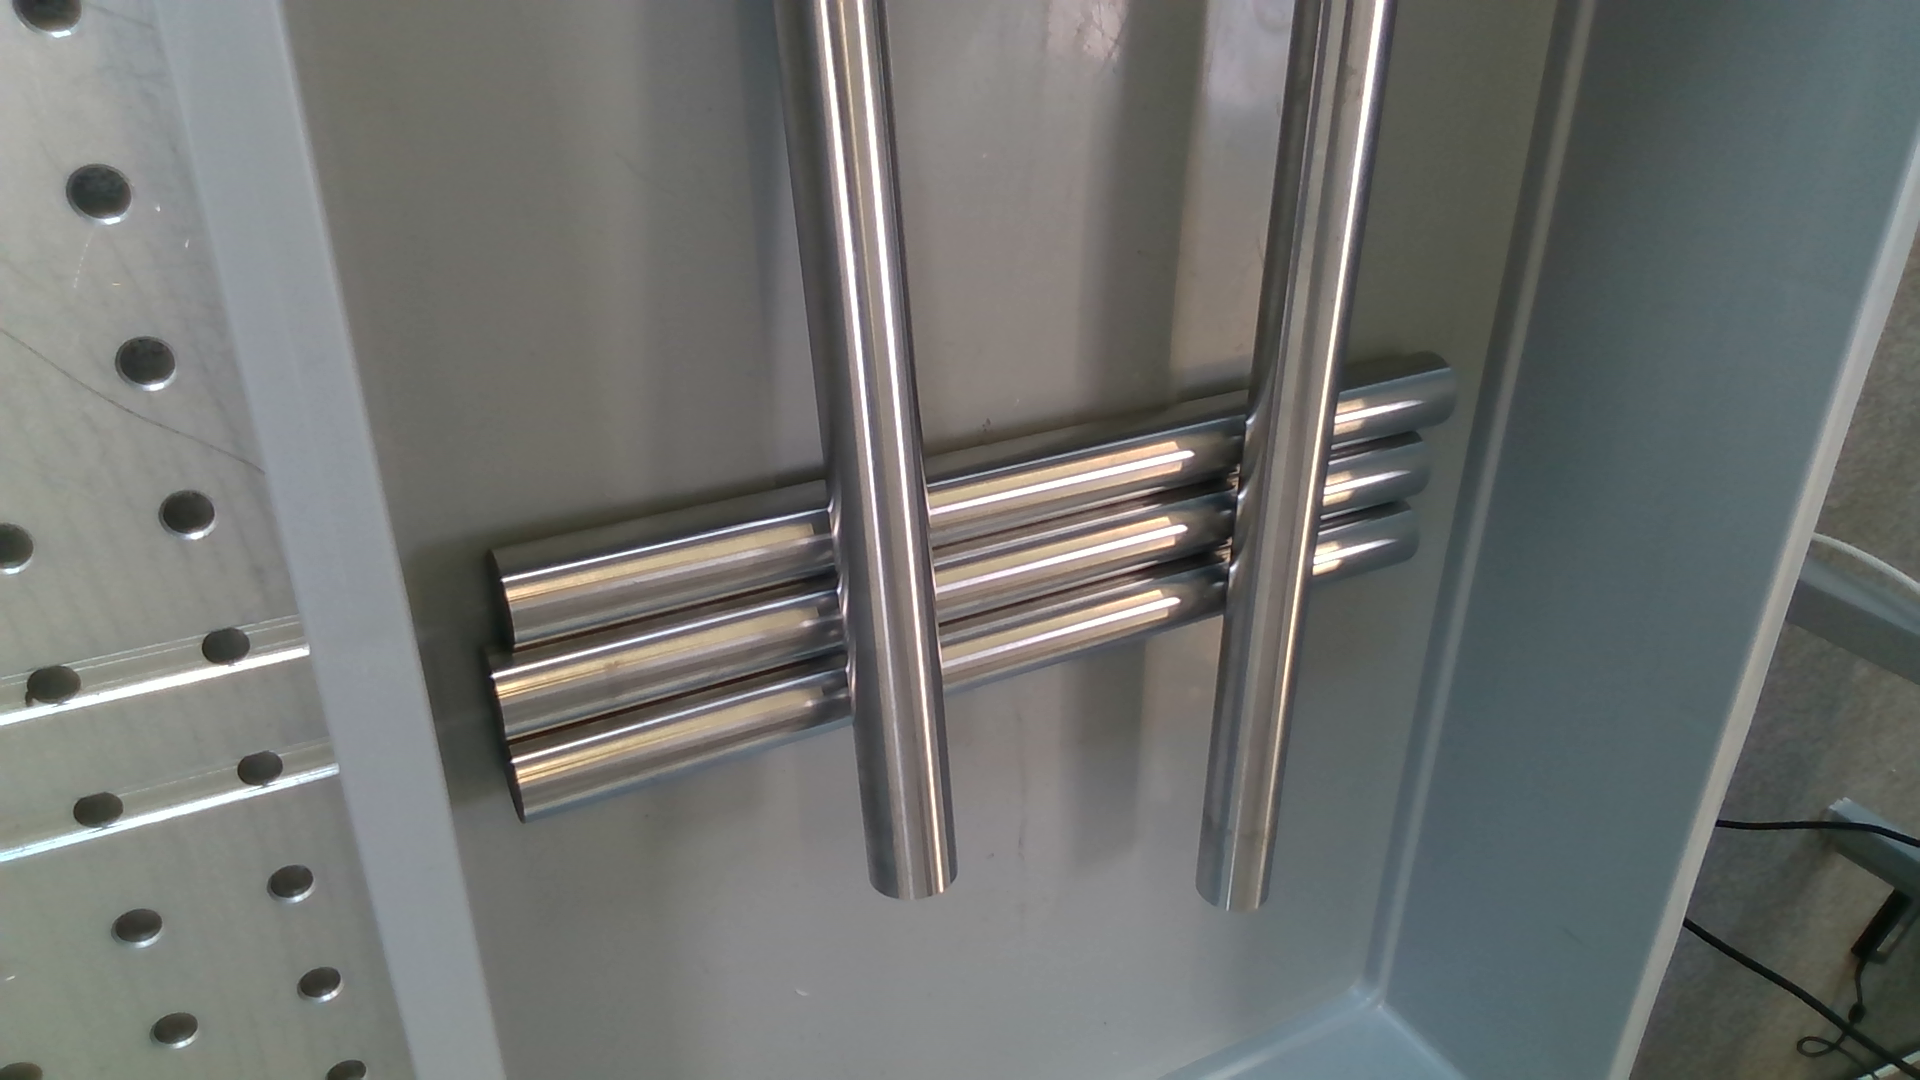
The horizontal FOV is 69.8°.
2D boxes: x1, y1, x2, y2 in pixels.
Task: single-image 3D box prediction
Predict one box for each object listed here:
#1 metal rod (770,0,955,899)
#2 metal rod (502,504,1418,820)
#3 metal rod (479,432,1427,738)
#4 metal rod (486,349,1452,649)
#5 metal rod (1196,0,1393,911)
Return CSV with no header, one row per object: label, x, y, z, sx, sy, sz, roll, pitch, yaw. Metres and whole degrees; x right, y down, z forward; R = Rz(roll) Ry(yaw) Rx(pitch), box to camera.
metal rod,-0.024,-0.046,0.326,0.025,0.025,0.301,-15,115,-25
metal rod,0.018,0.027,0.414,0.300,0.025,0.025,-14,121,-25
metal rod,0.017,0.005,0.402,0.300,0.025,0.025,-14,121,-25
metal rod,0.022,-0.018,0.393,0.300,0.025,0.025,-14,121,-25
metal rod,0.095,-0.013,0.408,0.025,0.025,0.301,-14,121,-25
